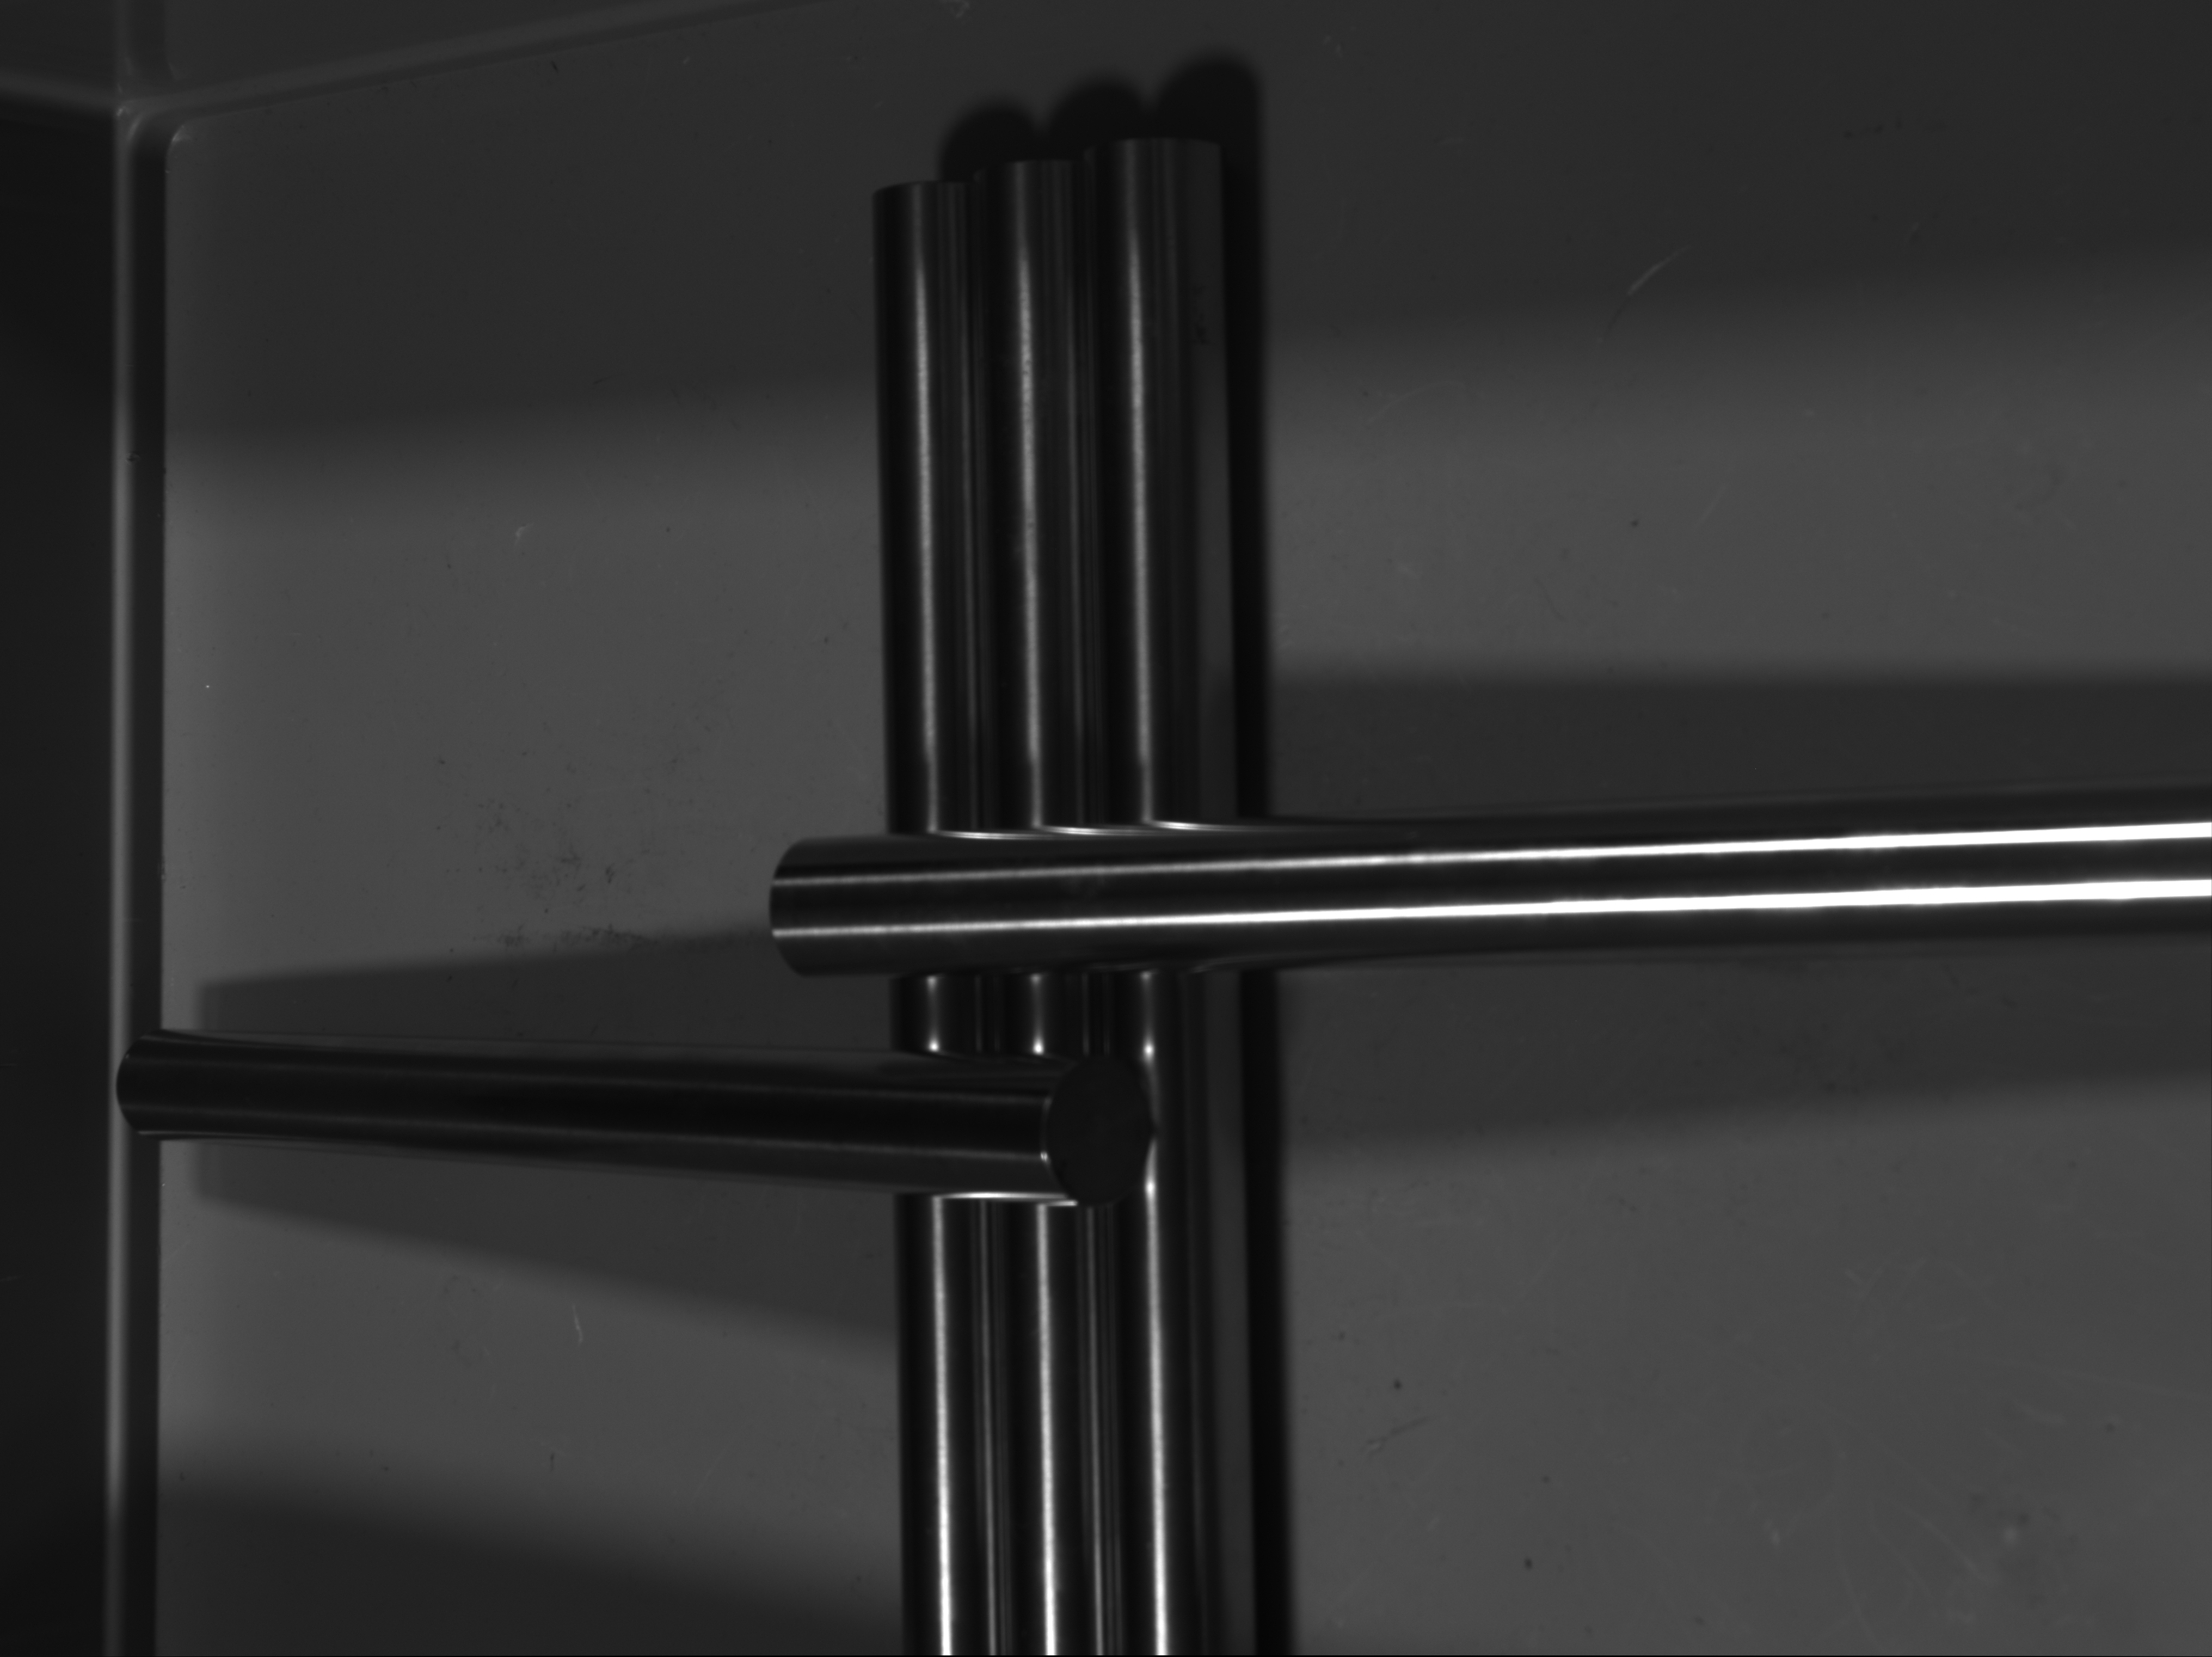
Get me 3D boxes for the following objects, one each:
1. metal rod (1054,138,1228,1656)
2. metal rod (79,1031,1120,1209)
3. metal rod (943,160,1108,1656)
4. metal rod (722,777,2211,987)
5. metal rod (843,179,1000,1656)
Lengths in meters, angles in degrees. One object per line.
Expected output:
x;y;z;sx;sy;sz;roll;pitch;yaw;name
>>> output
0.006;0.033;0.630;0.025;0.025;0.300;-2;89;39;metal rod
-0.112;0.054;0.706;0.299;0.025;0.025;-2;88;45;metal rod
-0.013;0.034;0.646;0.025;0.025;0.300;-2;89;39;metal rod
0.066;0.009;0.558;0.299;0.025;0.025;-3;88;33;metal rod
-0.032;0.035;0.662;0.025;0.025;0.300;-2;89;39;metal rod
